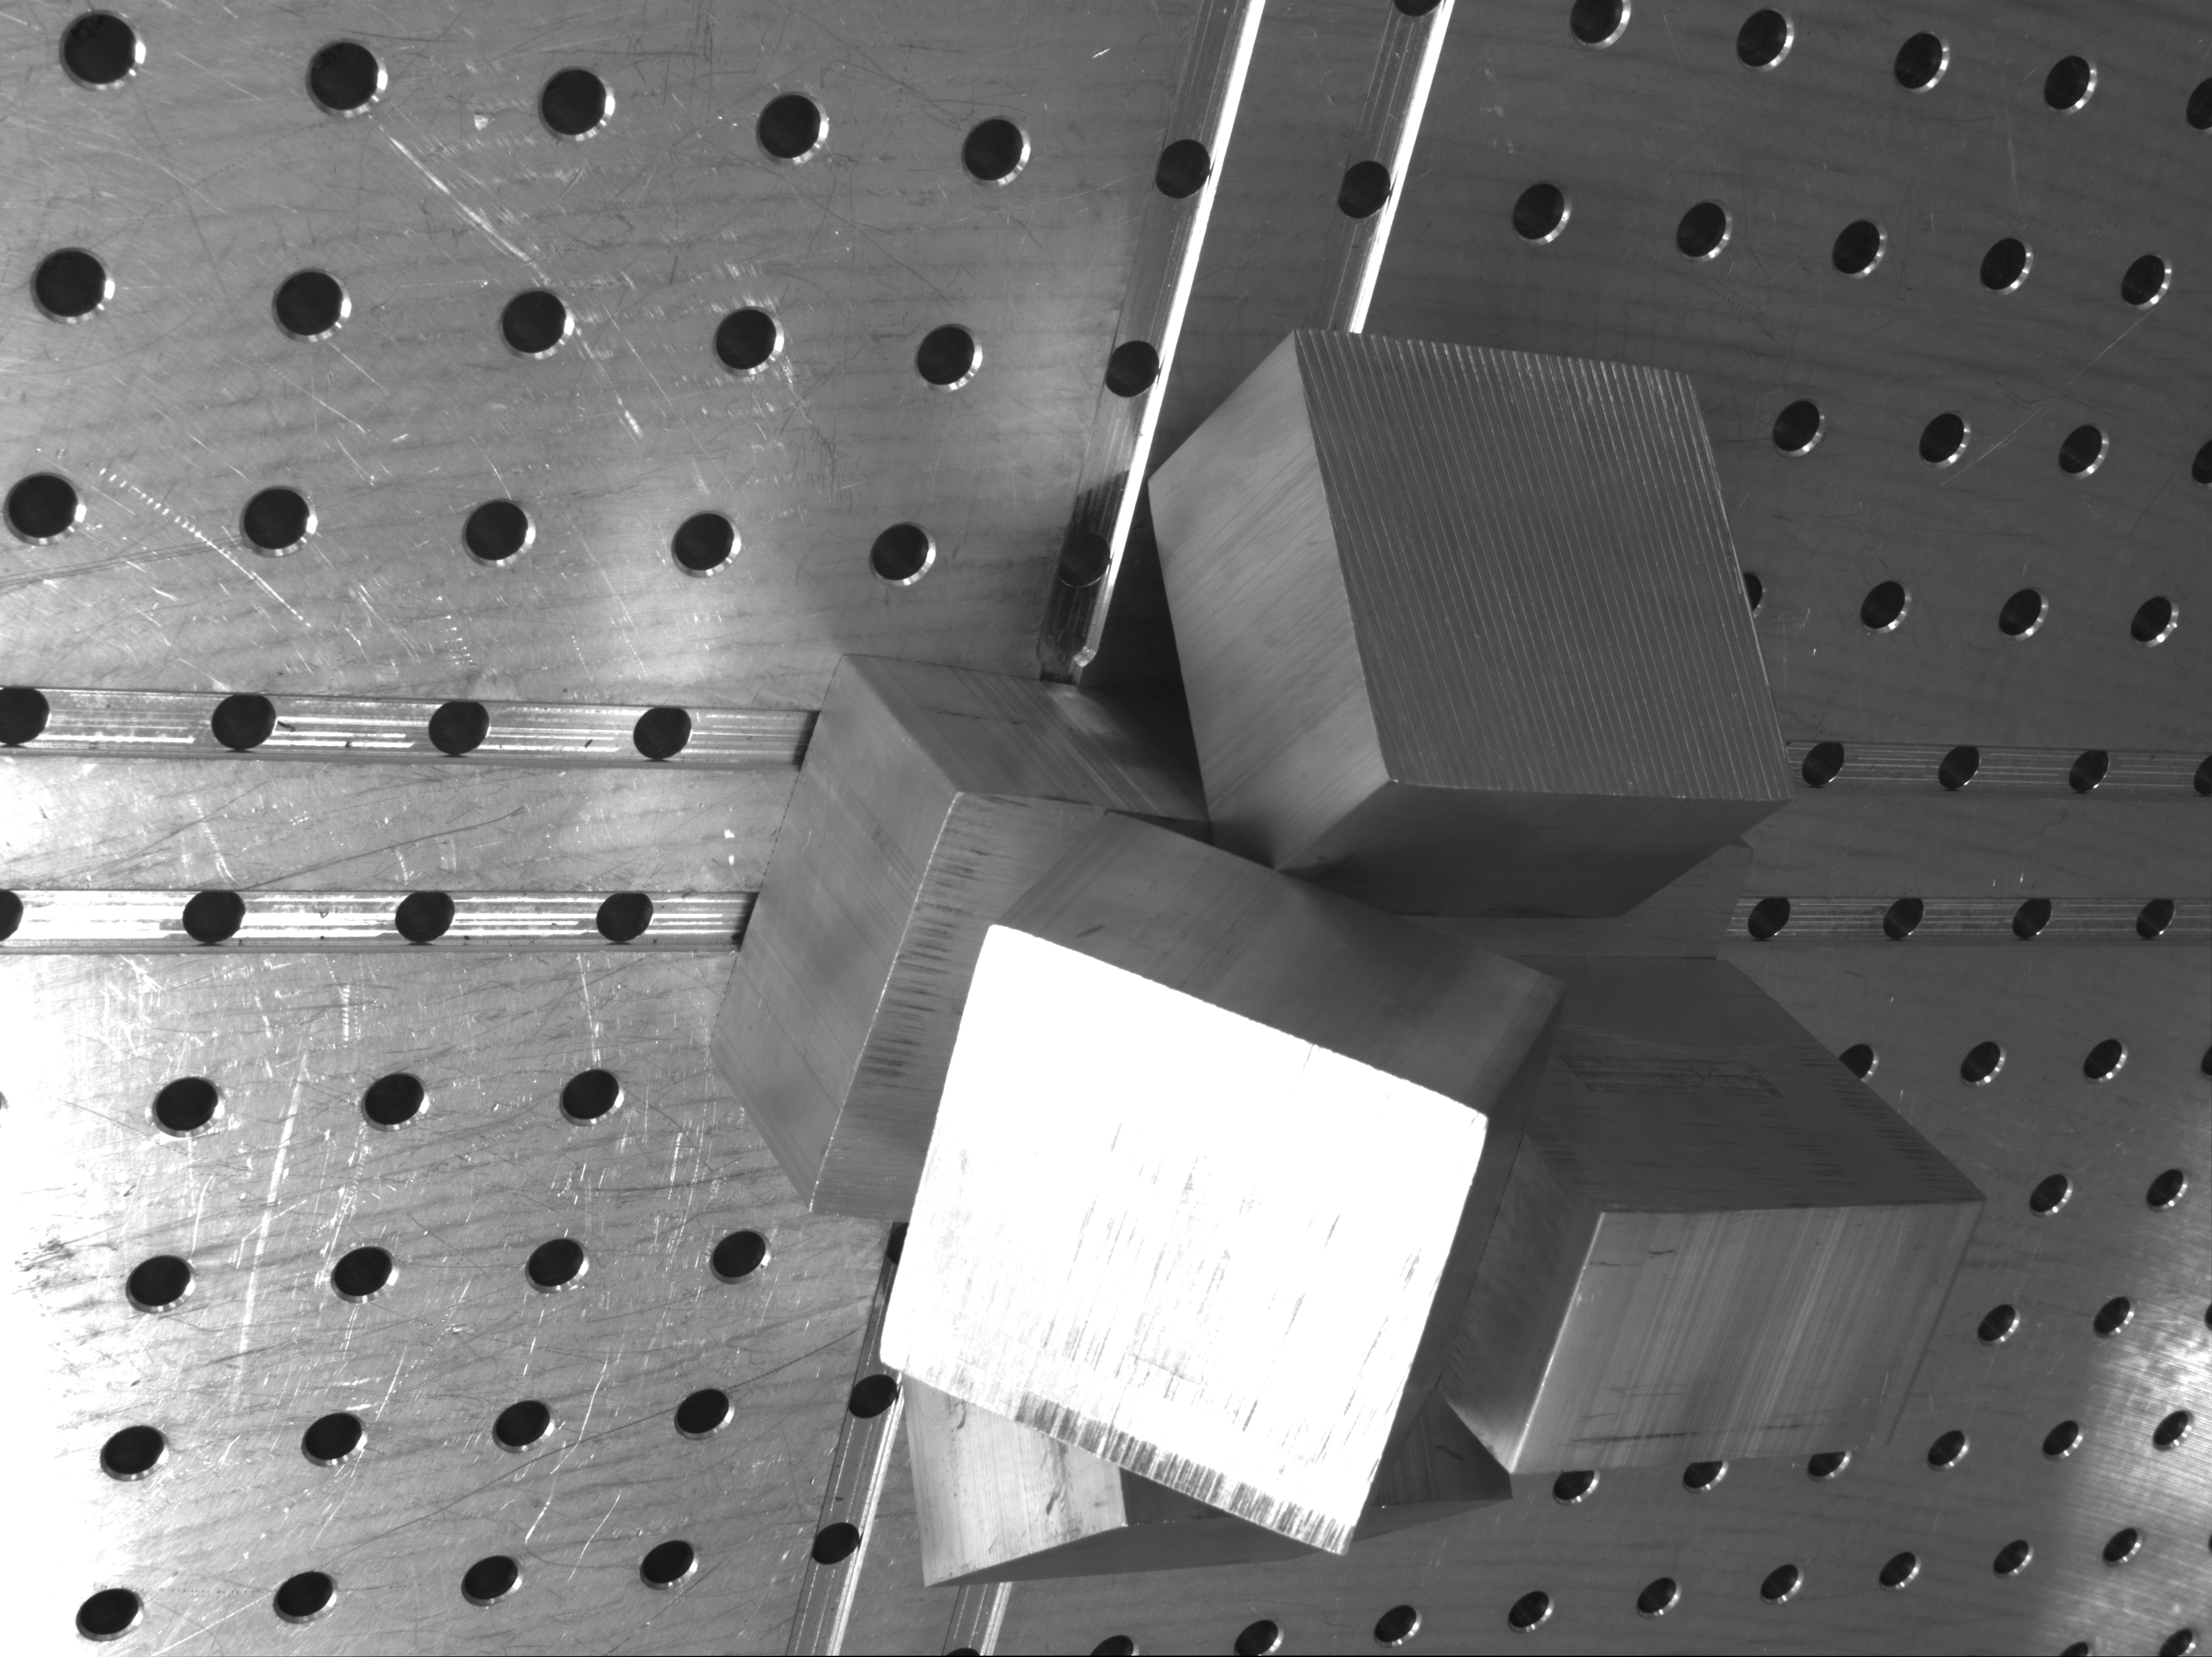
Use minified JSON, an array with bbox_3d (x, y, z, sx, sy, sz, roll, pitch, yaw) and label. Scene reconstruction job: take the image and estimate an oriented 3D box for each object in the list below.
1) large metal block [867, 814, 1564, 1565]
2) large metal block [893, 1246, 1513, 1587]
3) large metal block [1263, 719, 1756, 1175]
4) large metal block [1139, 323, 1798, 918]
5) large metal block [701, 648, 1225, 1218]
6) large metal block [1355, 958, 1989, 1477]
[{"bbox_3d":[0.017,0.055,0.573,0.080,0.050,0.080,21,115,12],"label":"large metal block"},{"bbox_3d":[0.015,0.106,0.671,0.080,0.050,0.080,2,161,-29],"label":"large metal block"},{"bbox_3d":[0.060,0.025,0.672,0.080,0.050,0.080,3,117,-29],"label":"large metal block"},{"bbox_3d":[0.059,-0.032,0.608,0.080,0.080,0.050,2,156,-29],"label":"large metal block"},{"bbox_3d":[-0.014,0.021,0.630,0.080,0.050,0.080,7,115,-31],"label":"large metal block"},{"bbox_3d":[0.088,0.064,0.627,0.080,0.080,0.050,1,117,-29],"label":"large metal block"}]
